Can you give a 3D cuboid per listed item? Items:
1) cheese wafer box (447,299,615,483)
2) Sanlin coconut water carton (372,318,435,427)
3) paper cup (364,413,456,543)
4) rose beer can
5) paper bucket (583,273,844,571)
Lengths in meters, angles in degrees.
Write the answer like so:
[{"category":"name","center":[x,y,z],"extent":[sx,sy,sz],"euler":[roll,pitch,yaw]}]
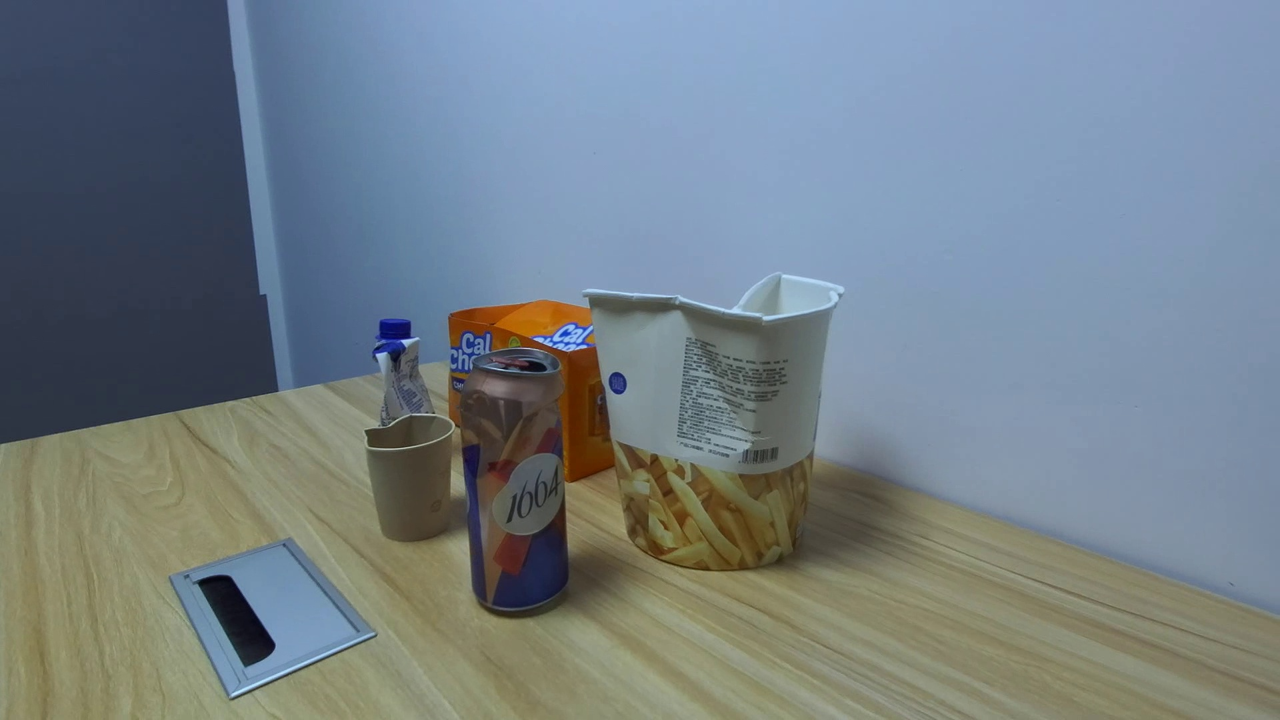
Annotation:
[{"category":"cheese wafer box","center":[-0.091,0.020,0.752],"extent":[0.153,0.132,0.229],"euler":[-15,22,-42]},{"category":"Sanlin coconut water carton","center":[-0.232,0.036,0.670],"extent":[0.056,0.145,0.068],"euler":[-4,20,18]},{"category":"paper cup","center":[-0.179,0.094,0.560],"extent":[0.069,0.081,0.073],"euler":[-6,17,-21]},{"category":"rose beer can","center":[-0.079,0.081,0.465],"extent":[0.065,0.167,0.076],"euler":[15,18,35]},{"category":"paper bucket","center":[0.068,0.038,0.558],"extent":[0.168,0.202,0.163],"euler":[15,20,36]}]
